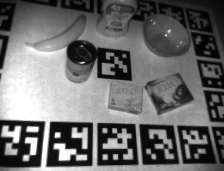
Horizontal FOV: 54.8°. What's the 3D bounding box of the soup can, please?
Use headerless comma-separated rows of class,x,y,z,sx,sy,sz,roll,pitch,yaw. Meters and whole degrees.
soup can,-0.087,-0.077,0.544,0.068,0.102,0.067,7,63,-14

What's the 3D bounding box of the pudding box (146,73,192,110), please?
pudding box,0.166,0.010,0.624,0.115,0.038,0.089,-18,78,-22

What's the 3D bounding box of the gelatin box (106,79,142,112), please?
gelatin box,0.033,0.027,0.583,0.090,0.030,0.073,11,67,-10

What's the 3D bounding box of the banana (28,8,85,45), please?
banana,-0.138,-0.166,0.616,0.074,0.039,0.198,38,61,15

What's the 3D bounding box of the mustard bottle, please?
mustard bottle,0.025,-0.226,0.591,0.097,0.191,0.058,5,62,-13

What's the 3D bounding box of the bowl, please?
bowl,0.172,-0.163,0.698,0.162,0.055,0.161,6,64,-12
